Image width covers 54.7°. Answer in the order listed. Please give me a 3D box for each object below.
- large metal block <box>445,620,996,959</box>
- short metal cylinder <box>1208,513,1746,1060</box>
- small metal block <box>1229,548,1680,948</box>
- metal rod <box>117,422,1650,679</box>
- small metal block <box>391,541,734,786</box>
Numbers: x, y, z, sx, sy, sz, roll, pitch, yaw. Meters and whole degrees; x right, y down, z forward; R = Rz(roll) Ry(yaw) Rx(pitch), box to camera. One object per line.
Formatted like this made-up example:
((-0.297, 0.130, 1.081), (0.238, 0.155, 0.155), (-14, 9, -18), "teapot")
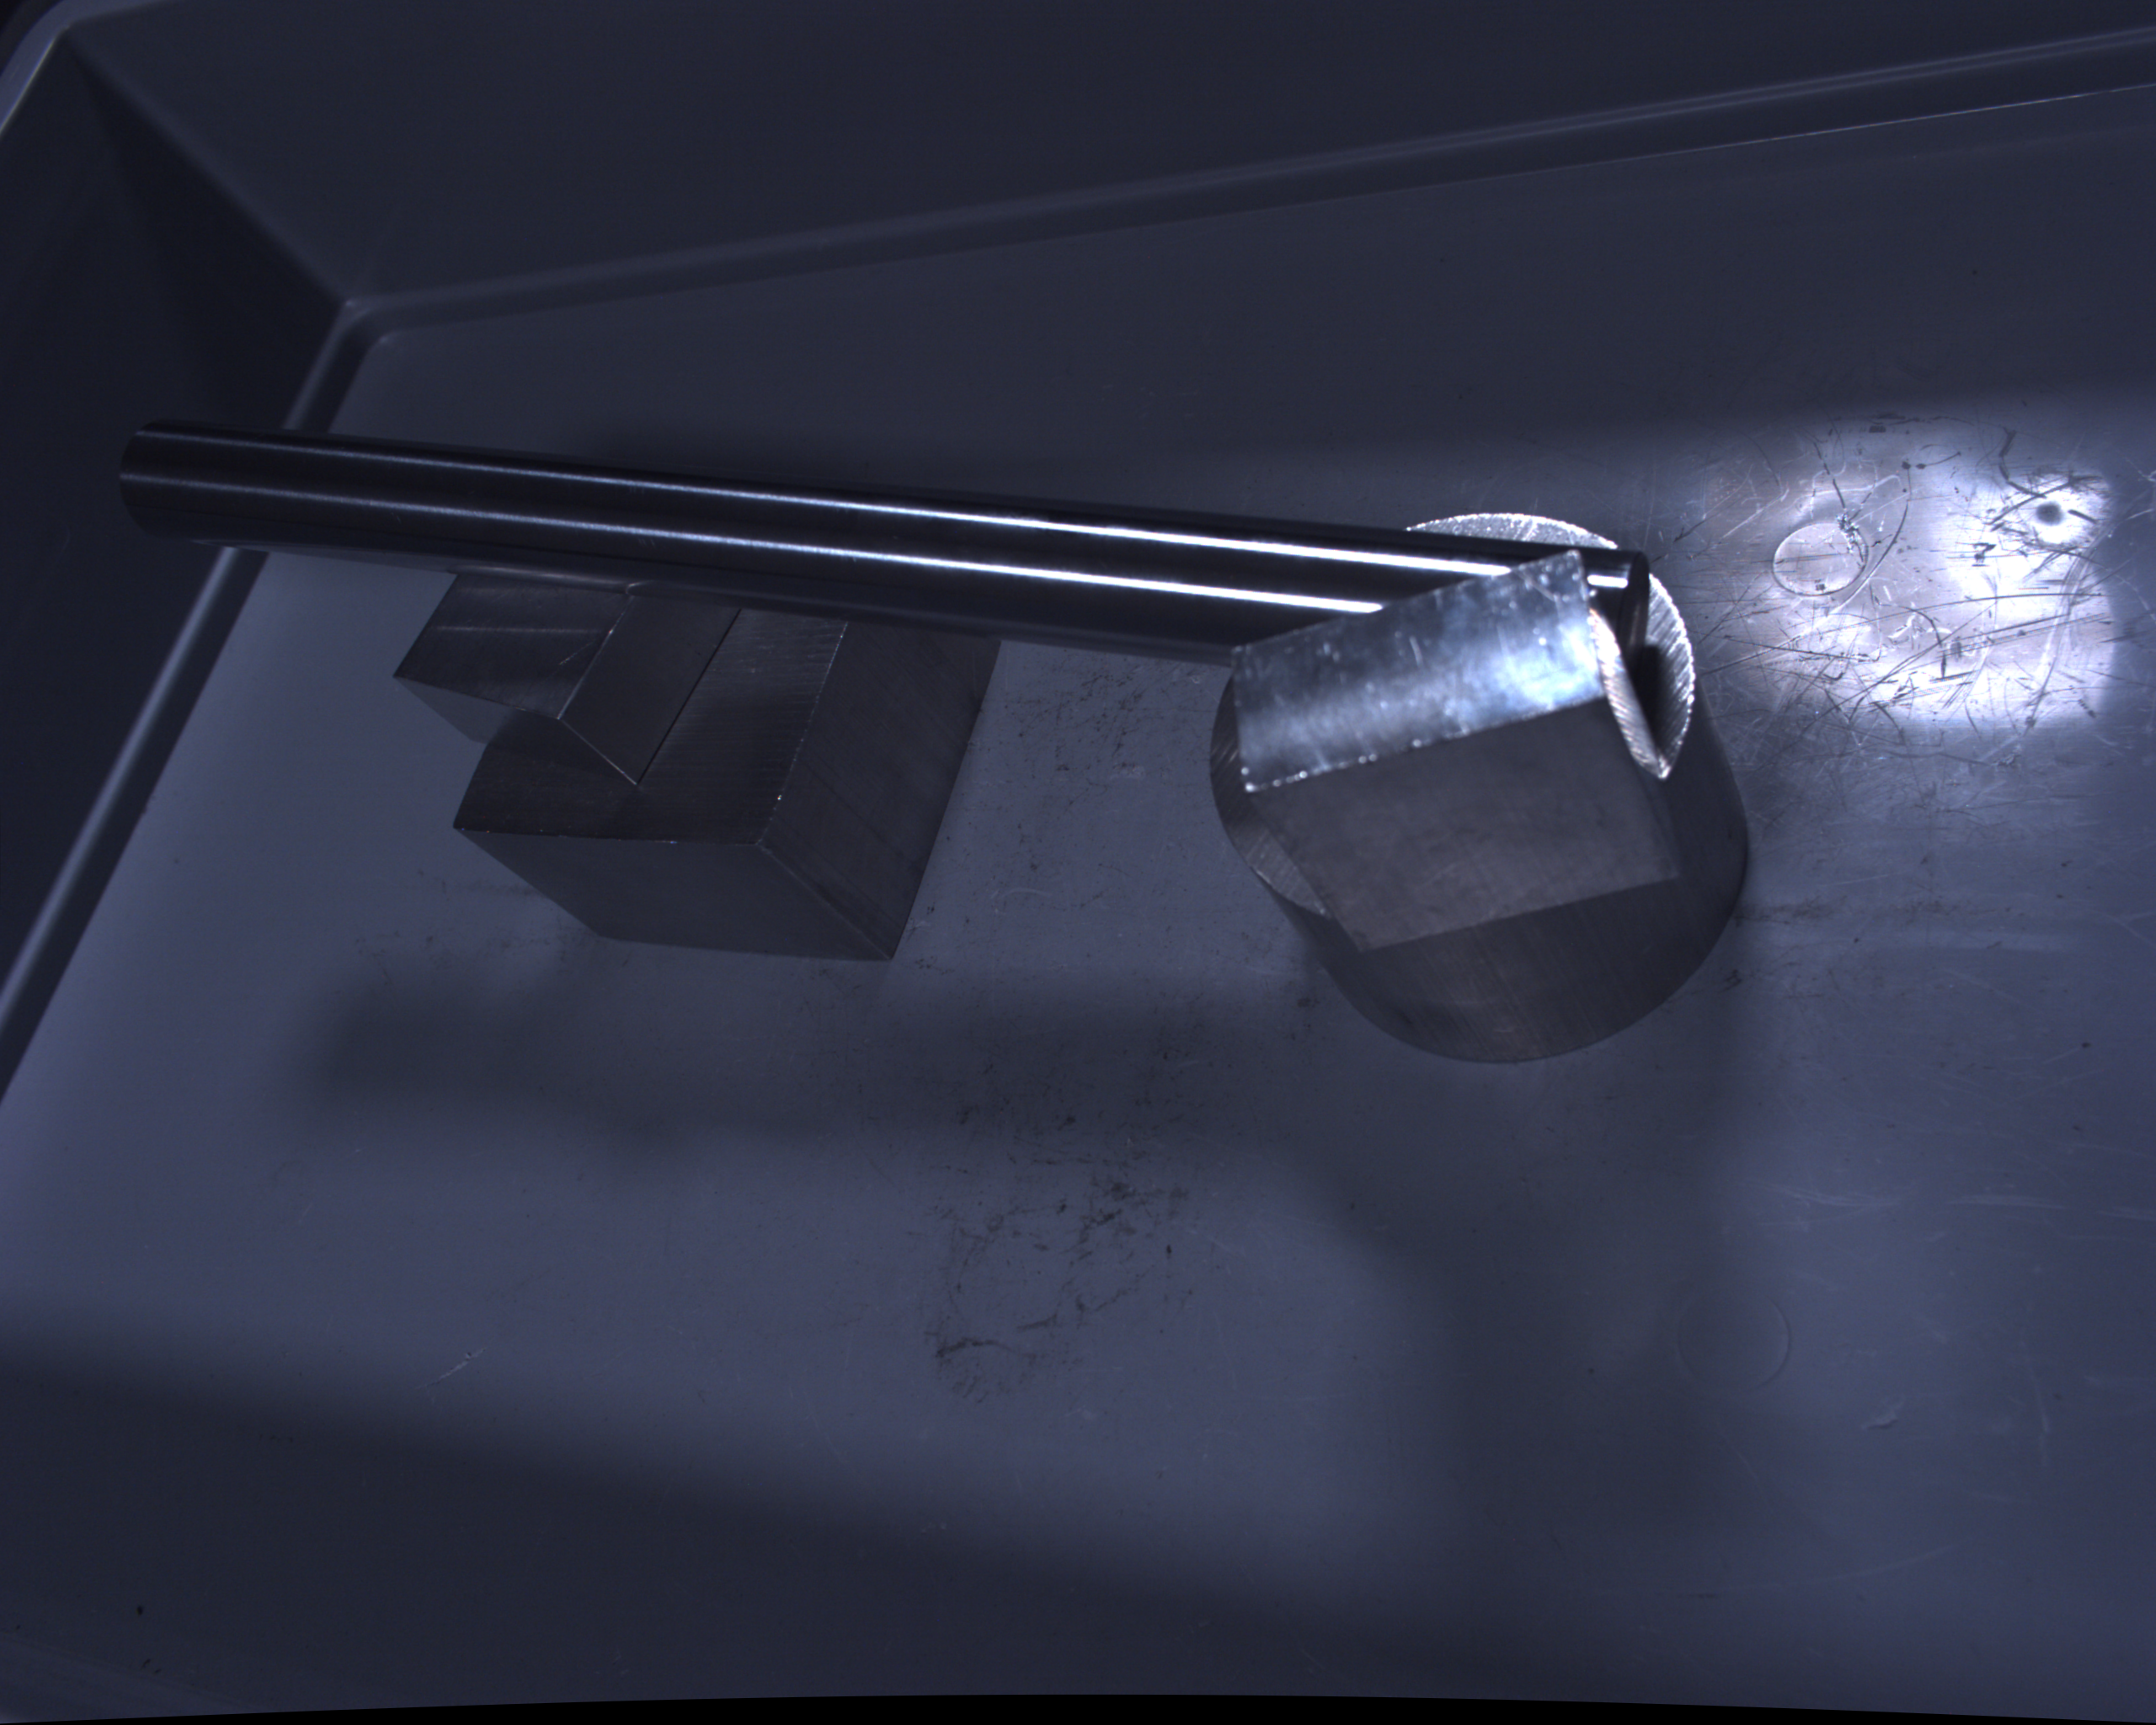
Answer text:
((-0.073, -0.029, 0.440), (0.080, 0.050, 0.080), (3, 63, 29), "large metal block")
((0.069, -0.013, 0.358), (0.080, 0.050, 0.080), (-13, 56, 20), "short metal cylinder")
((0.055, -0.014, 0.301), (0.050, 0.050, 0.025), (-14, 56, 20), "small metal block")
((-0.053, -0.056, 0.374), (0.301, 0.025, 0.025), (9, 66, 23), "metal rod")
((-0.101, -0.047, 0.419), (0.050, 0.025, 0.050), (14, 68, 33), "small metal block")
